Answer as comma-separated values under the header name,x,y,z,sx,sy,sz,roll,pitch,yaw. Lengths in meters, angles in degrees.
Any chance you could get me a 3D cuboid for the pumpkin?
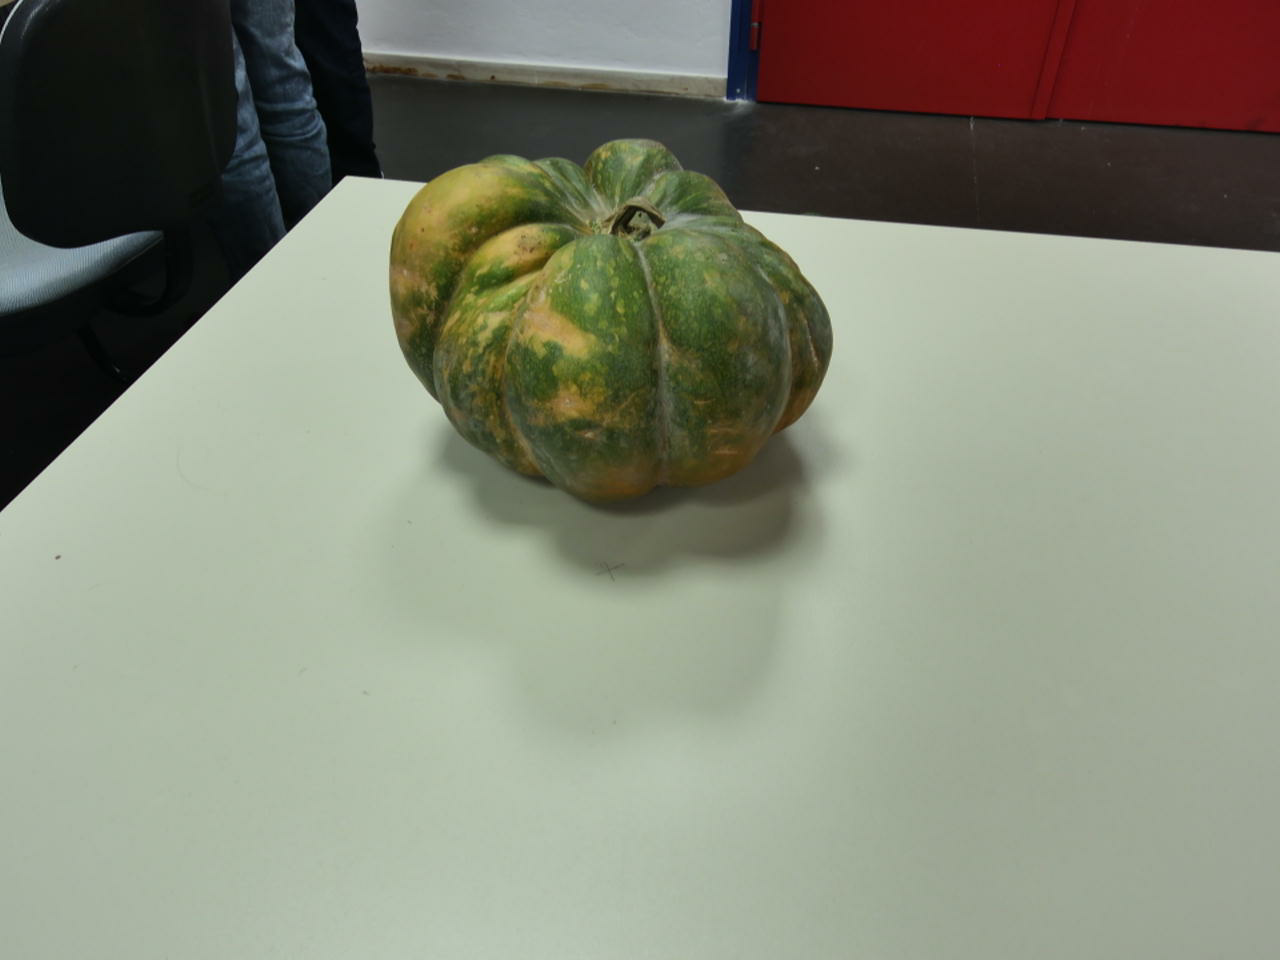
name,x,y,z,sx,sy,sz,roll,pitch,yaw
pumpkin,-0.016,-0.101,0.593,0.237,0.173,0.270,-28,47,-30
